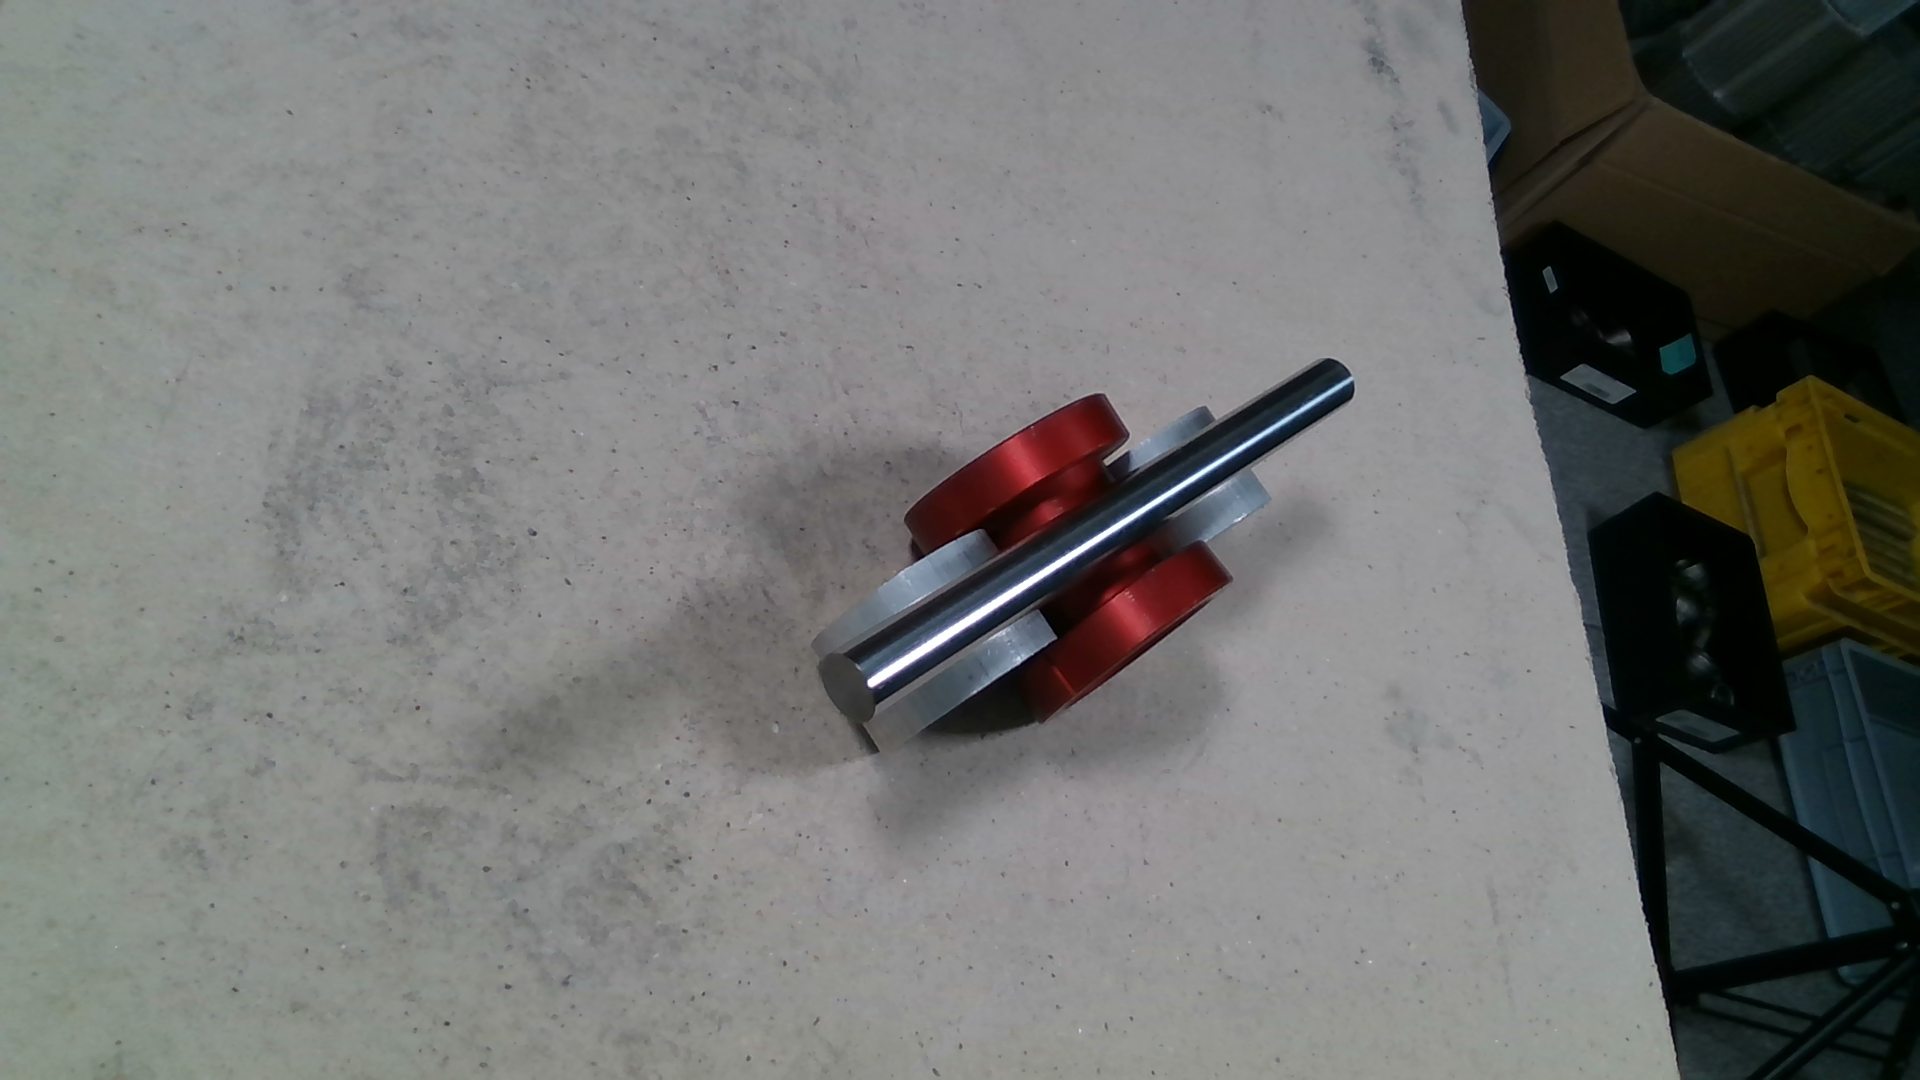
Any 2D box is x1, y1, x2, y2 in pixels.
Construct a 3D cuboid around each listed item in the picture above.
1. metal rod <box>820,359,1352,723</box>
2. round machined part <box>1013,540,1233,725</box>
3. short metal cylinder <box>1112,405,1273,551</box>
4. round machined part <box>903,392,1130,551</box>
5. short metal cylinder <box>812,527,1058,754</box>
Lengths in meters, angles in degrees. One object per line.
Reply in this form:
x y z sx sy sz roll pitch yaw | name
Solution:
0.065 -0.012 0.530 0.300 0.025 0.025 -30 83 -39 | metal rod
0.059 0.030 0.560 0.098 0.098 0.042 -29 78 -39 | round machined part
0.092 -0.017 0.616 0.080 0.080 0.050 -29 82 -39 | short metal cylinder
0.028 -0.017 0.564 0.098 0.098 0.042 -29 86 -39 | round machined part
-0.009 0.038 0.524 0.080 0.080 0.050 -29 82 -39 | short metal cylinder
